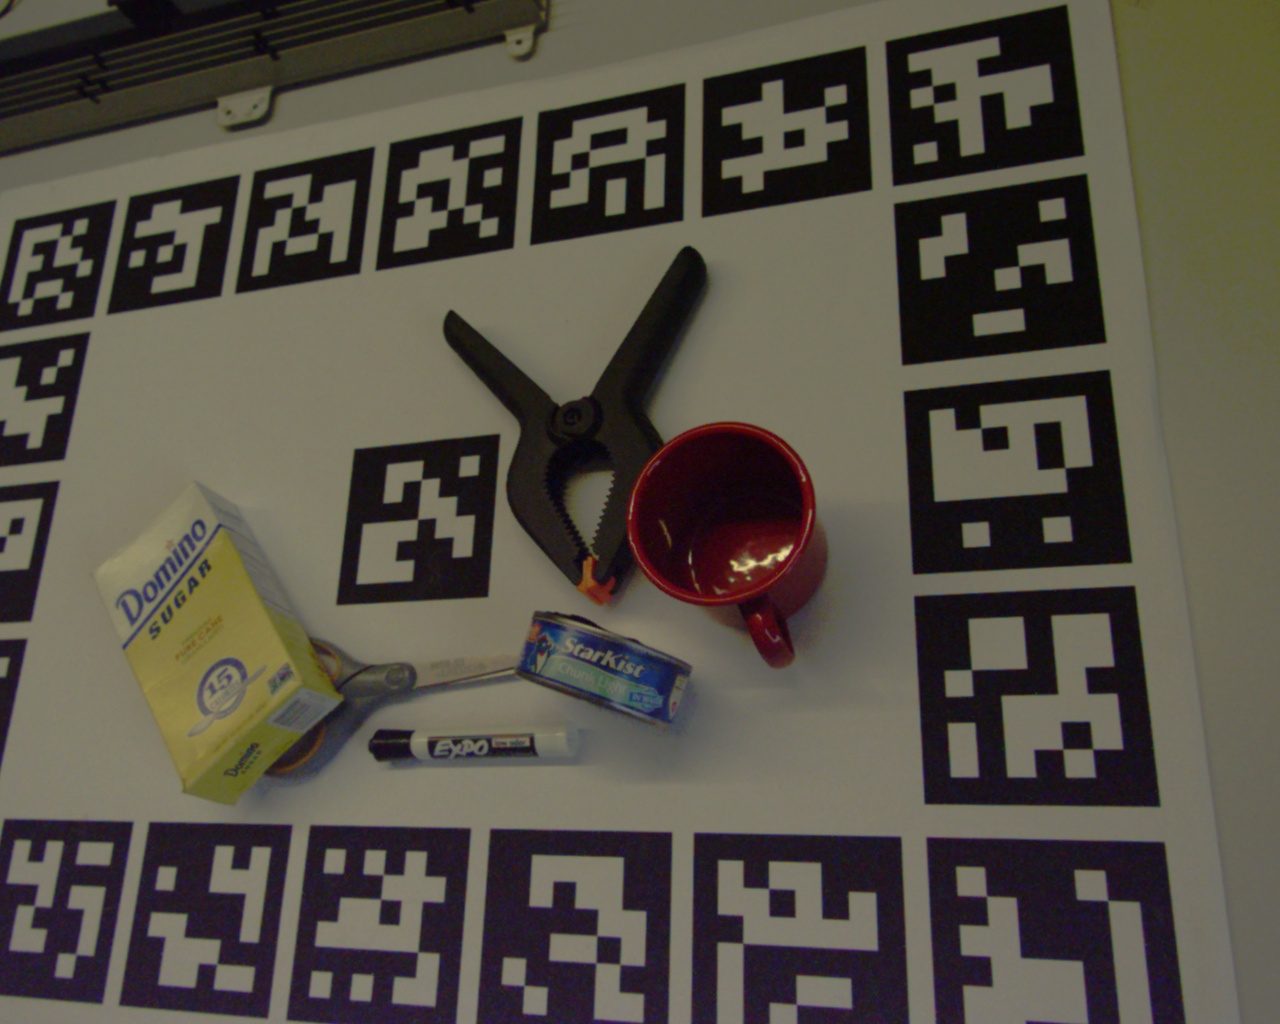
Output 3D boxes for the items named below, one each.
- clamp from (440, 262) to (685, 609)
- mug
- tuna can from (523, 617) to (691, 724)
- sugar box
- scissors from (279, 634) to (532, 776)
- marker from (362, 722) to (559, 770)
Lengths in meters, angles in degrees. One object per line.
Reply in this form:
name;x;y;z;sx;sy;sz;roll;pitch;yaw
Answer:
clamp;-0.036;-0.040;0.692;0.166;0.036;0.203;-15;70;14
mug;0.040;0.031;0.609;0.093;0.080;0.118;-31;62;7
tuna can;-0.018;0.085;0.607;0.086;0.085;0.034;13;77;22
sugar box;-0.256;0.082;0.710;0.093;0.045;0.178;-40;59;3
scissors;-0.150;0.099;0.684;0.204;0.015;0.088;-15;65;13
marker;-0.106;0.136;0.659;0.122;0.019;0.020;-9;71;18
